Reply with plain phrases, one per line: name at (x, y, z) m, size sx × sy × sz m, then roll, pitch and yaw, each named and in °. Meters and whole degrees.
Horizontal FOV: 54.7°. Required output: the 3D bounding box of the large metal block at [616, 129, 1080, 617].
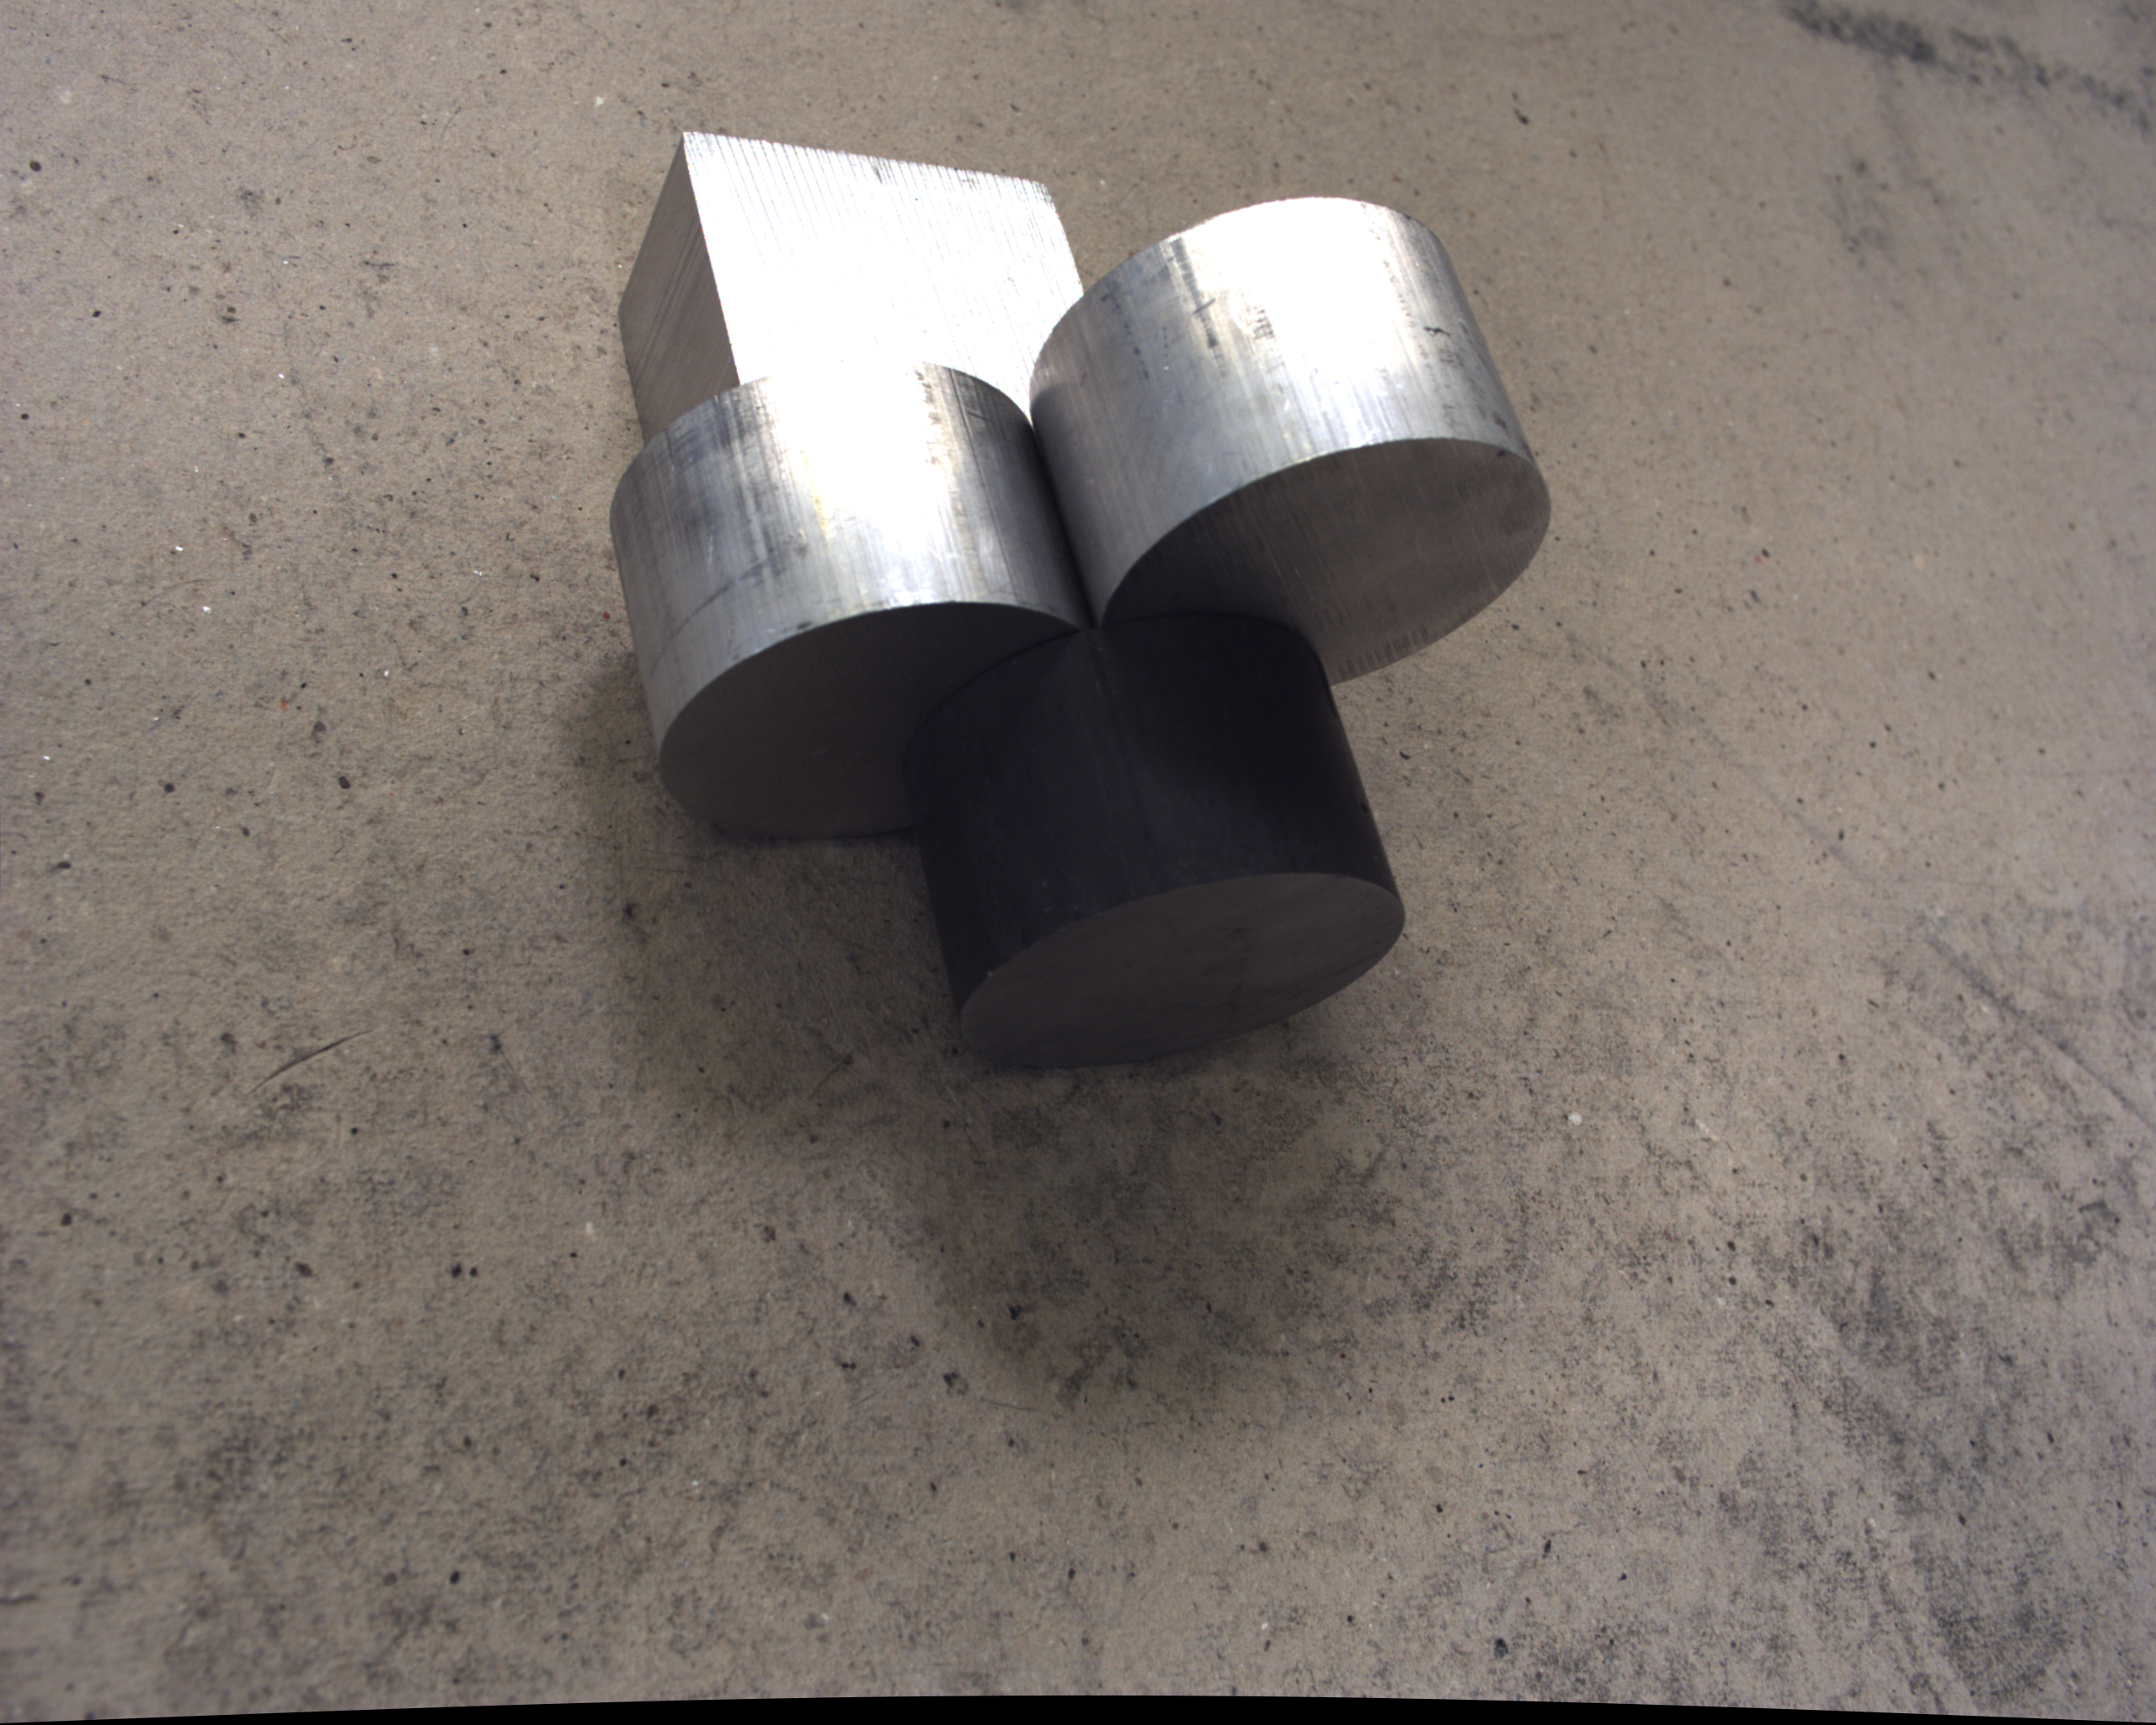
large metal block at (-0.042, -0.096, 0.426) m, size 0.081 × 0.050 × 0.080 m, roll -2°, pitch 63°, yaw -29°

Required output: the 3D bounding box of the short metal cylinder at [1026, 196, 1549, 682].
short metal cylinder at (0.036, -0.070, 0.368) m, size 0.081 × 0.080 × 0.050 m, roll -2°, pitch 63°, yaw -29°

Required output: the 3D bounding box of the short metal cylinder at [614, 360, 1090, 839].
short metal cylinder at (-0.039, -0.045, 0.377) m, size 0.081 × 0.080 × 0.050 m, roll -2°, pitch 63°, yaw -29°

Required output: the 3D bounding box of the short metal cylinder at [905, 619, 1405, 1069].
short metal cylinder at (0.013, -0.001, 0.378) m, size 0.081 × 0.080 × 0.050 m, roll 0°, pitch 62°, yaw -29°

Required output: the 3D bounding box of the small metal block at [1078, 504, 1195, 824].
small metal block at (0.011, -0.038, 0.421) m, size 0.025 × 0.050 × 0.050 m, roll 1°, pitch 61°, yaw -28°
